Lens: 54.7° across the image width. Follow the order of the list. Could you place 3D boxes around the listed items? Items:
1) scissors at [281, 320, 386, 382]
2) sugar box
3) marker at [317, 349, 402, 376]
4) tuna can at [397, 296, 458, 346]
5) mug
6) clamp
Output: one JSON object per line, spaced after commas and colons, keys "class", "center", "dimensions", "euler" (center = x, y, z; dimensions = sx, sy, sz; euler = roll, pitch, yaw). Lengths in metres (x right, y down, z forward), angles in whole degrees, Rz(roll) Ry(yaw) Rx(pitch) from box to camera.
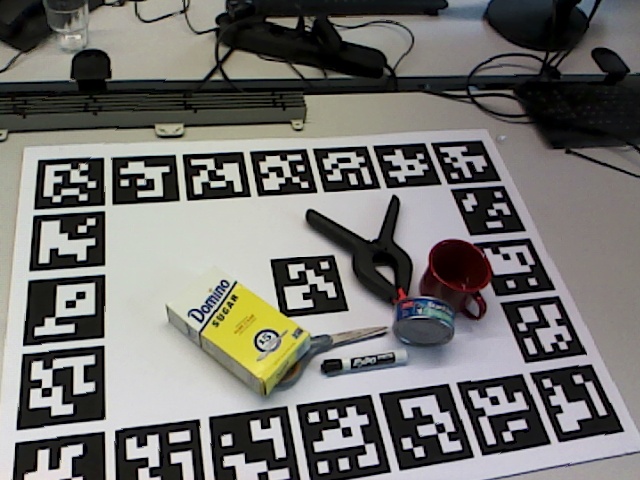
{"class": "scissors", "center": [0.002, 0.139, 0.871], "dimensions": [0.202, 0.016, 0.088], "euler": [-13, 53, -20]}
{"class": "sugar box", "center": [-0.103, 0.119, 0.847], "dimensions": [0.177, 0.045, 0.092], "euler": [36, 56, 23]}
{"class": "marker", "center": [0.054, 0.171, 0.859], "dimensions": [0.121, 0.019, 0.020], "euler": [-8, 57, -14]}
{"class": "tuna can", "center": [0.151, 0.116, 0.875], "dimensions": [0.086, 0.085, 0.034], "euler": [10, 53, -3]}
{"class": "mug", "center": [0.198, 0.072, 0.922], "dimensions": [0.093, 0.081, 0.118], "euler": [-29, 60, -27]}
{"class": "clamp", "center": [0.089, 0.022, 0.977], "dimensions": [0.165, 0.036, 0.204], "euler": [-13, 58, -19]}
